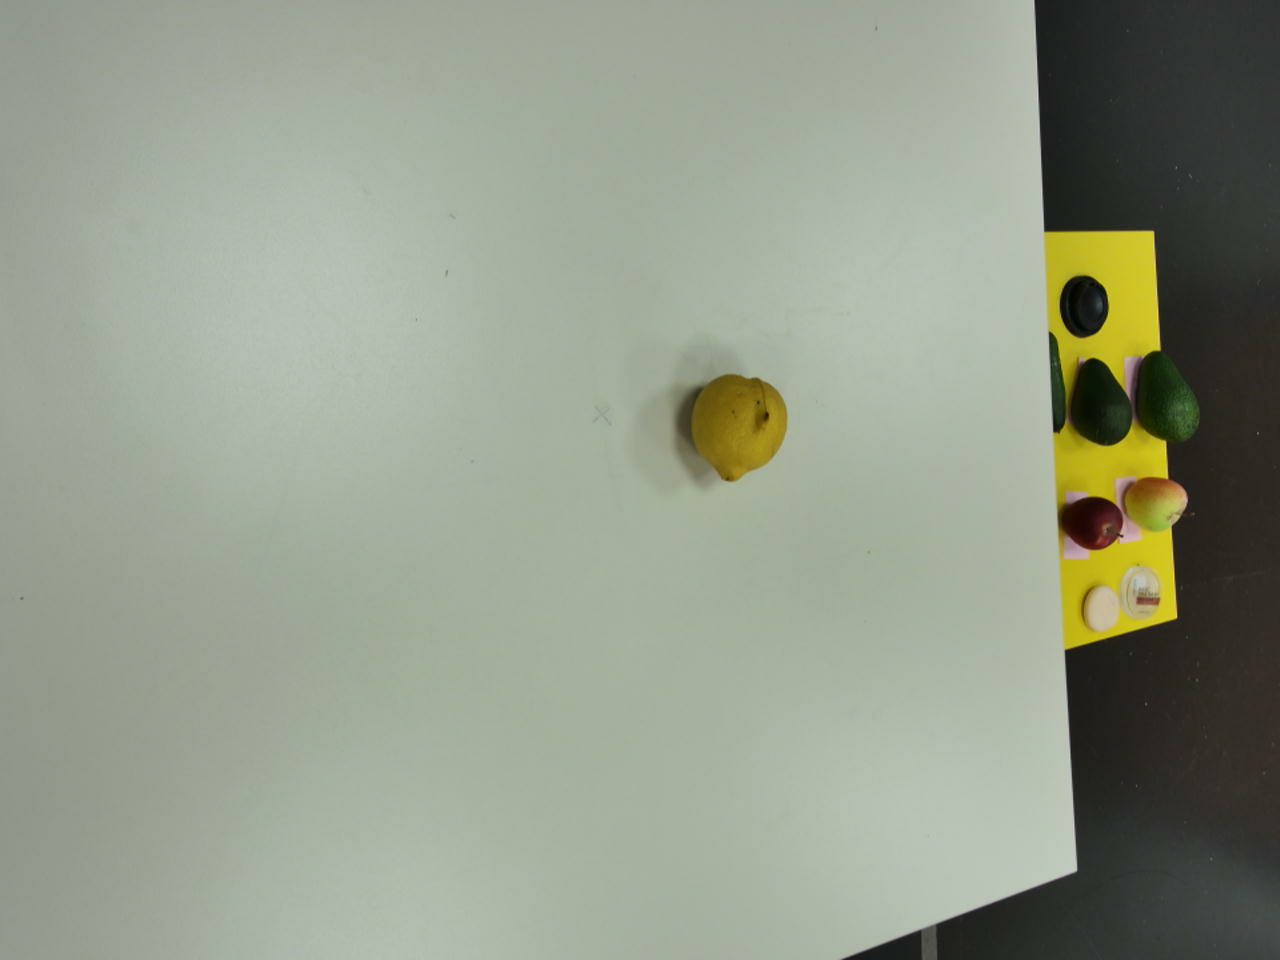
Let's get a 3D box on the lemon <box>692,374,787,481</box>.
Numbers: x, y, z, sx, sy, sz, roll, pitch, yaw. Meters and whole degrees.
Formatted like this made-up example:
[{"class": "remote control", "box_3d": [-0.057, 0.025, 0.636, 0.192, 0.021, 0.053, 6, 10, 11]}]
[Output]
[{"class": "lemon", "box_3d": [0.072, -0.041, 0.716, 0.071, 0.071, 0.070, -41, 109, -21]}]
